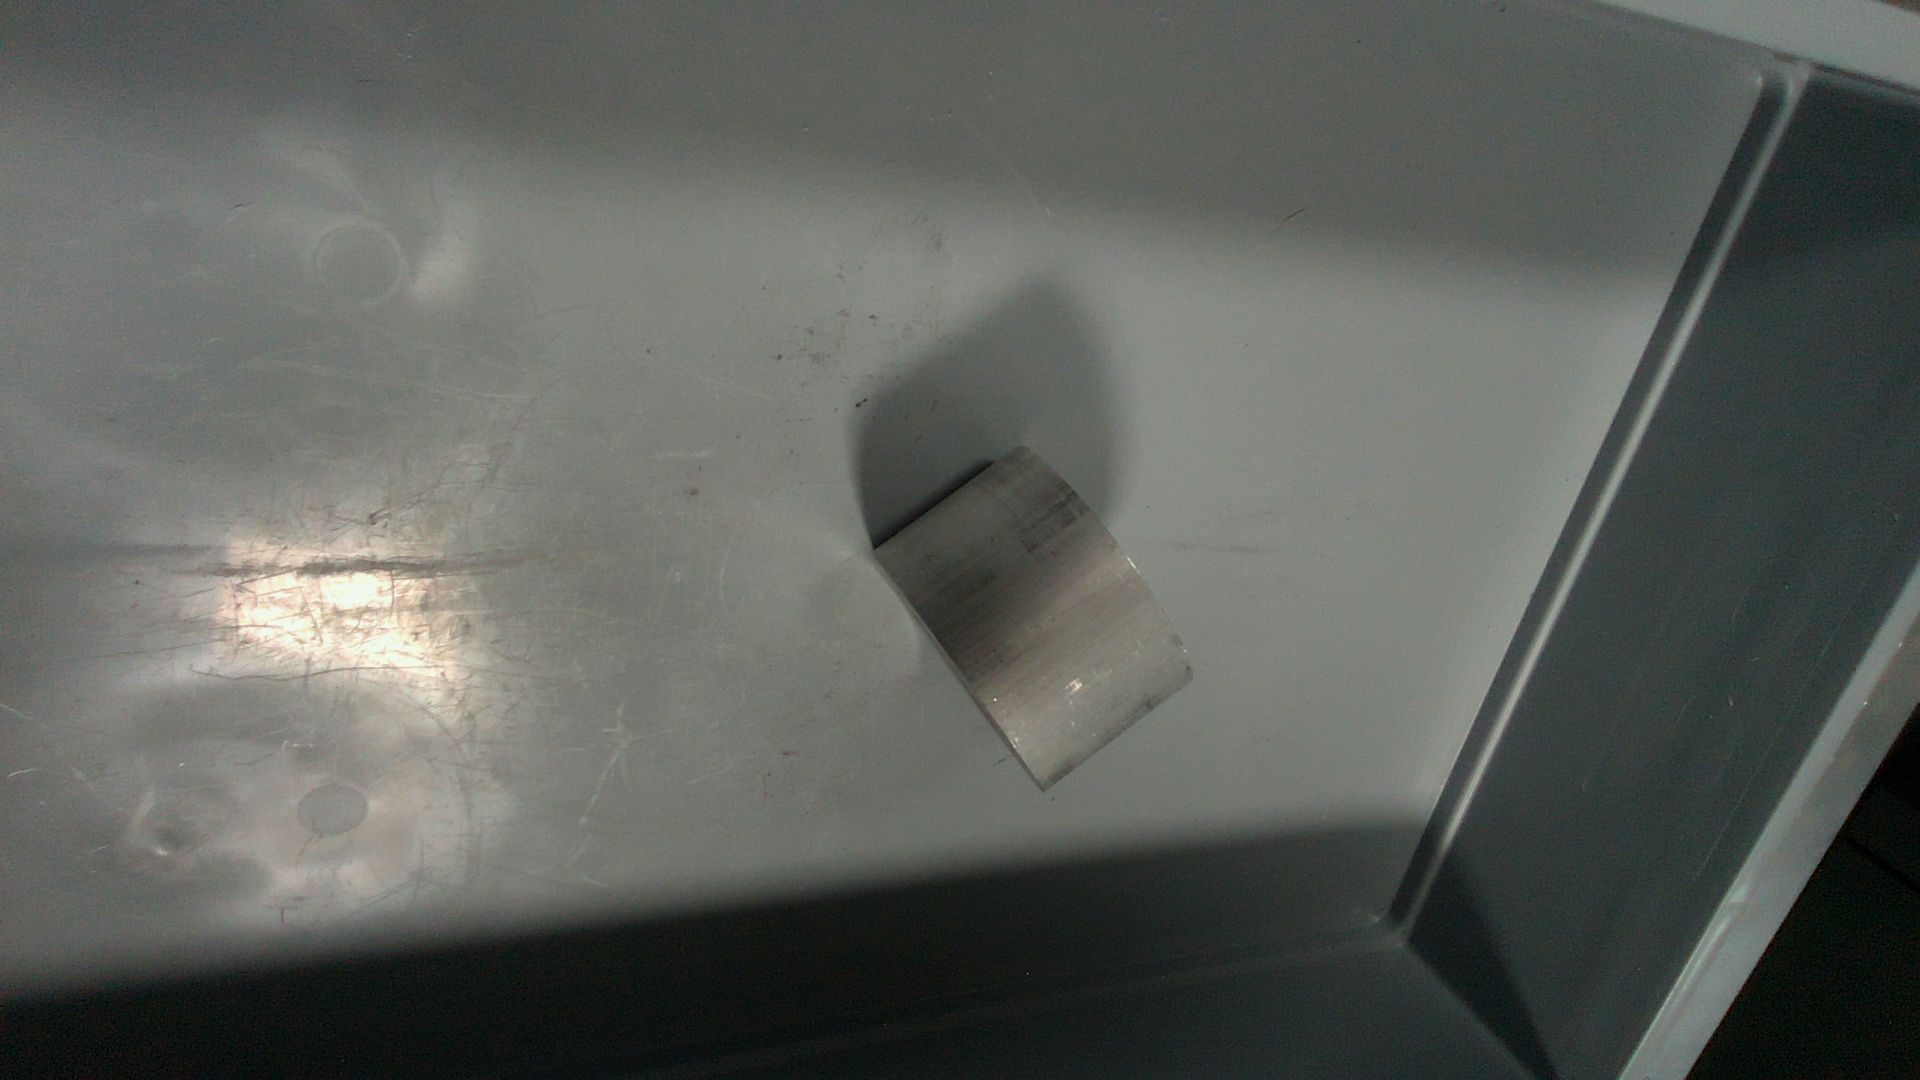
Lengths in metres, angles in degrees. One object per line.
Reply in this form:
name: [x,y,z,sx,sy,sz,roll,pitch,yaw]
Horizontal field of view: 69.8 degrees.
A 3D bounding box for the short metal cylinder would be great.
short metal cylinder: [0.019,0.021,0.374,0.050,0.080,0.080,-36,129,-4]
